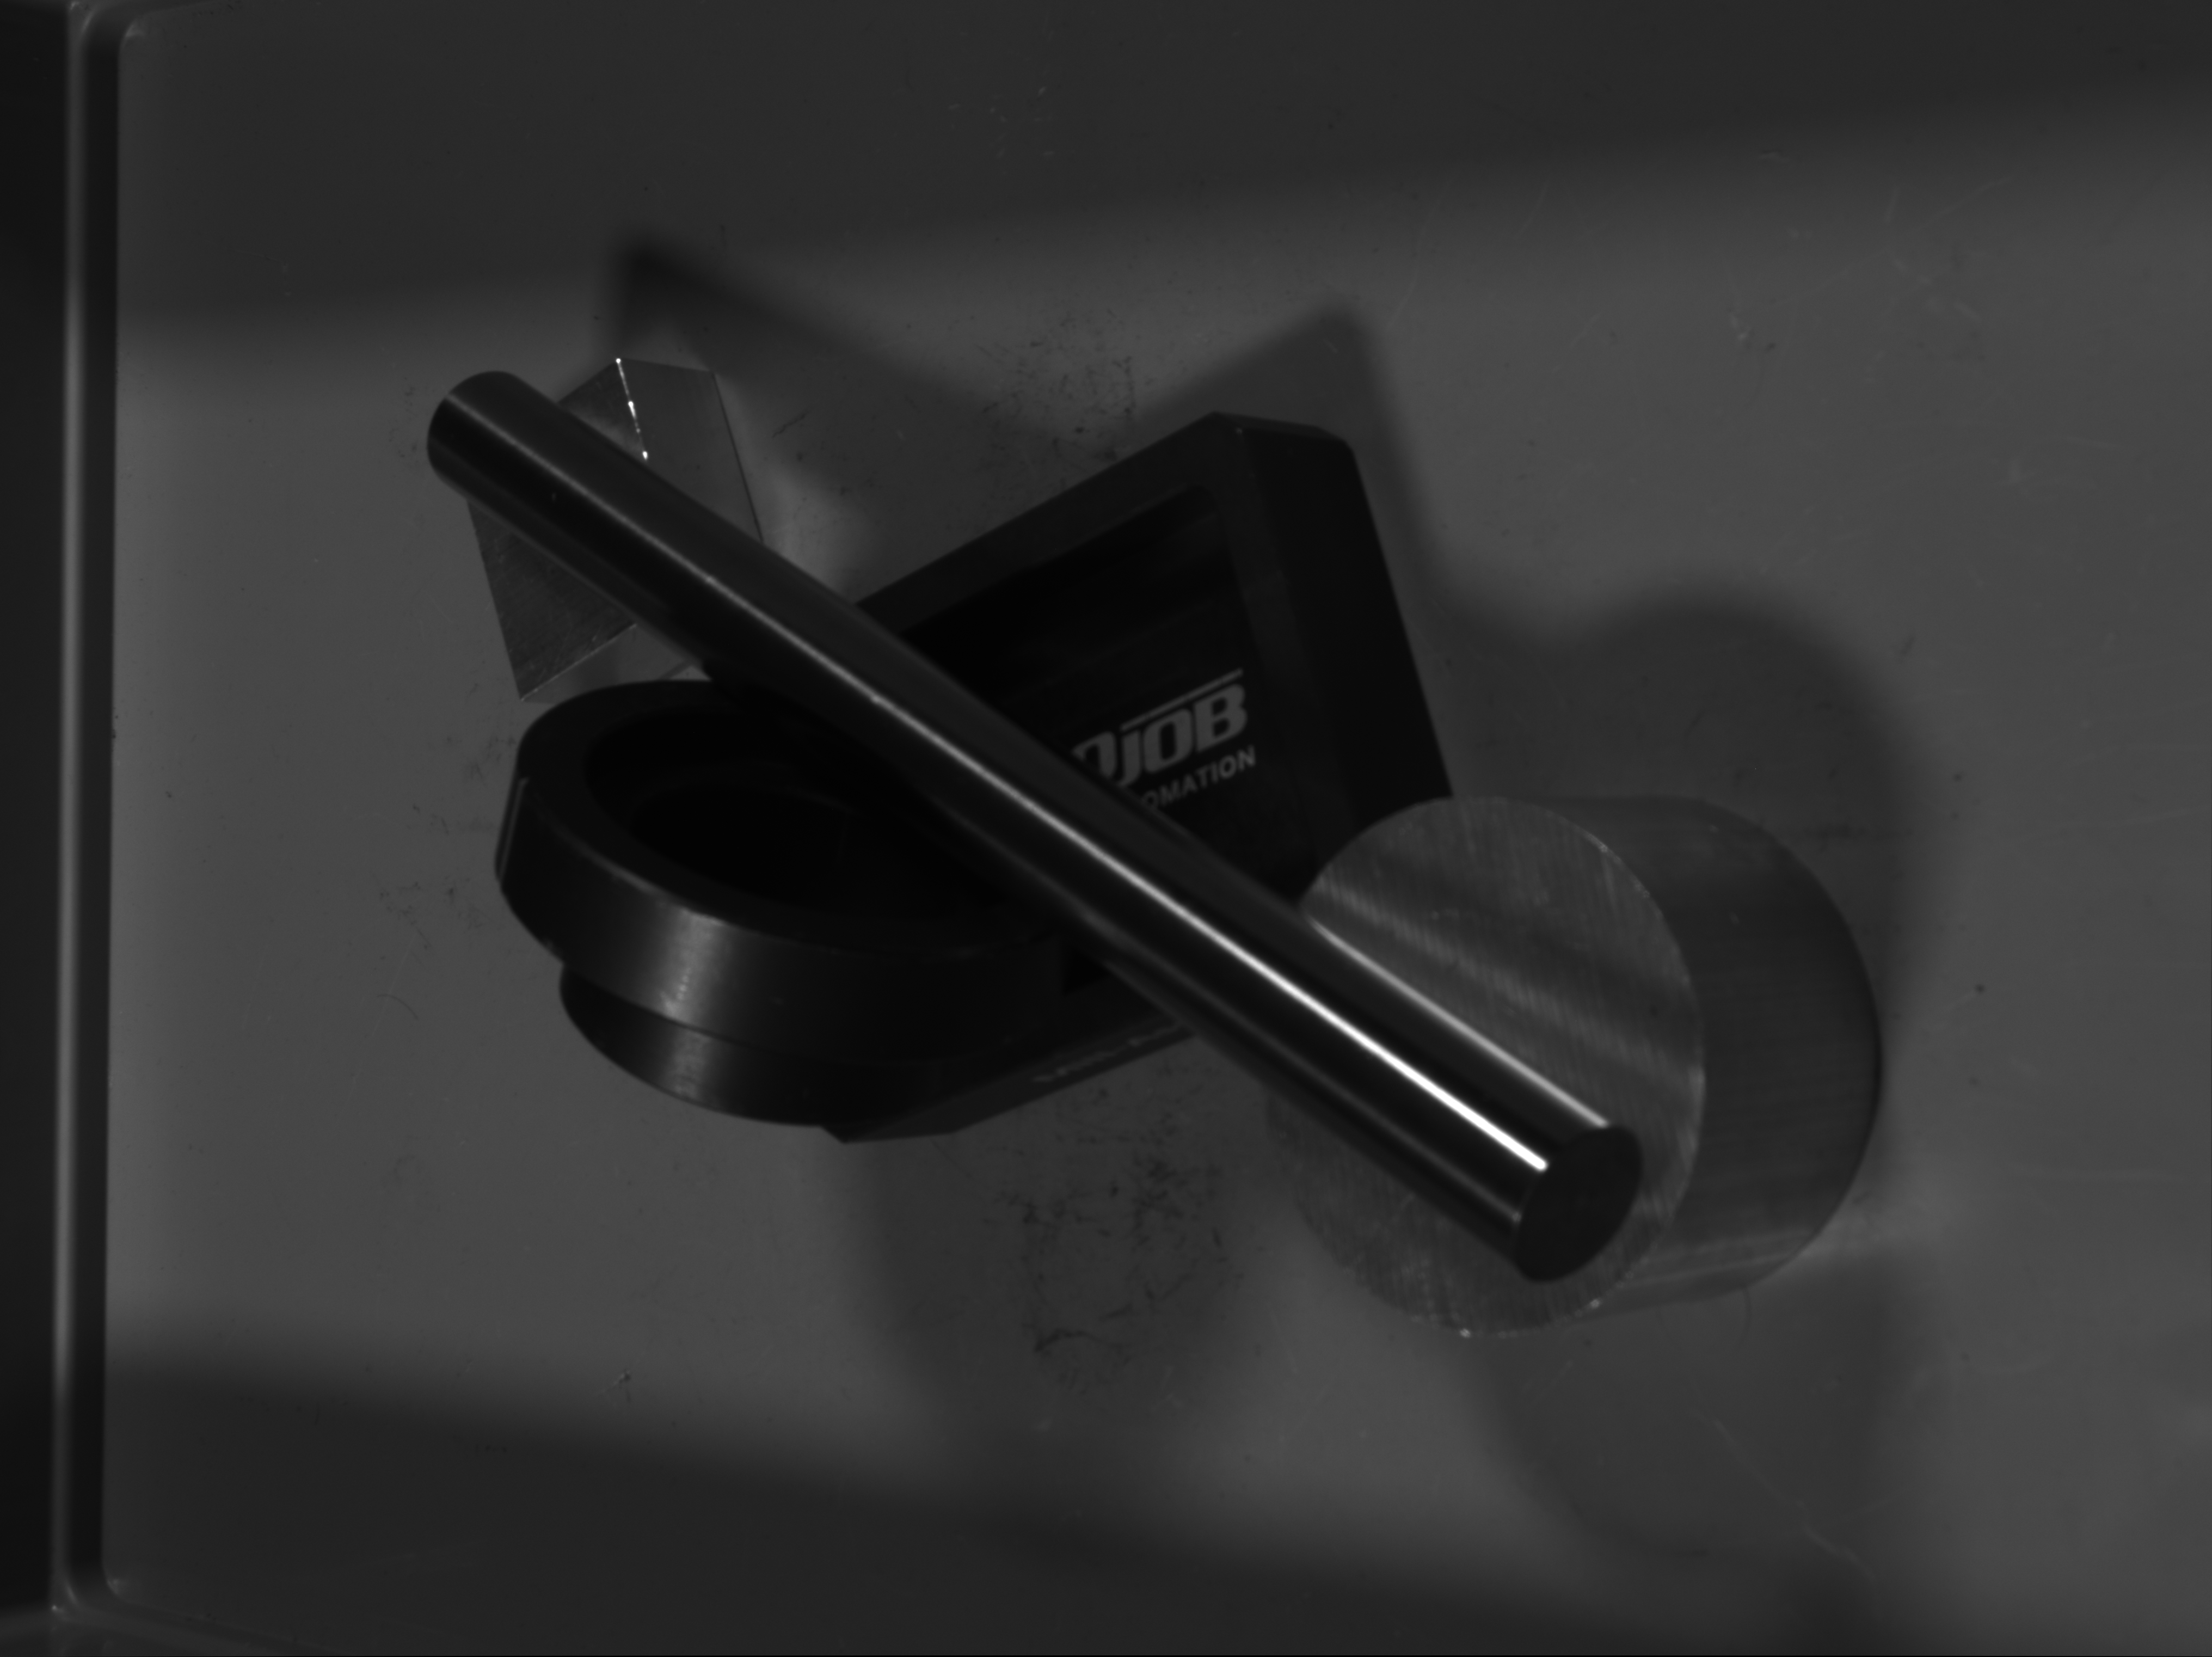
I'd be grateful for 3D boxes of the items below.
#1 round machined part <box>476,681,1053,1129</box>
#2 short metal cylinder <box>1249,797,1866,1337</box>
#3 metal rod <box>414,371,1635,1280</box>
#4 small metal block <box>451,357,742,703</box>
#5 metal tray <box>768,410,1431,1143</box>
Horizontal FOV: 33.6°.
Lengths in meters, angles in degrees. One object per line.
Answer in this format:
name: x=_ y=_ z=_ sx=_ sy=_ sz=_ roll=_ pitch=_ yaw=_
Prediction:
round machined part: x=-0.058 y=0.015 z=0.618 sx=0.098 sy=0.098 sz=0.042 roll=34 pitch=118 yaw=34
short metal cylinder: x=0.069 y=0.035 z=0.562 sx=0.080 sy=0.050 sz=0.080 roll=0 pitch=90 yaw=39
metal rod: x=-0.029 y=-0.012 z=0.605 sx=0.299 sy=0.025 sz=0.025 roll=34 pitch=111 yaw=41
small metal block: x=-0.099 y=-0.057 z=0.716 sx=0.050 sy=0.025 sz=0.050 roll=-28 pitch=73 yaw=36
metal tray: x=-0.008 y=-0.006 z=0.638 sx=0.130 sy=0.030 sz=0.090 roll=-24 pitch=75 yaw=37
